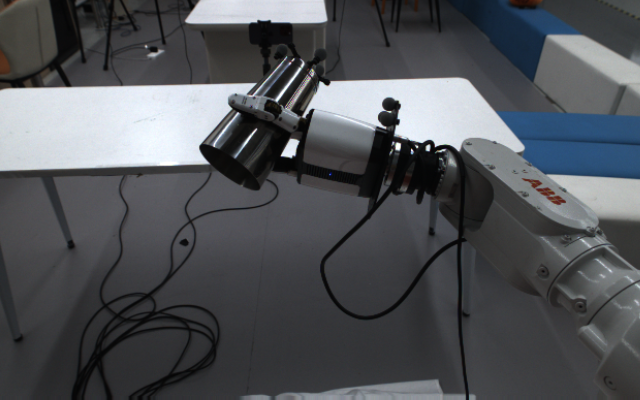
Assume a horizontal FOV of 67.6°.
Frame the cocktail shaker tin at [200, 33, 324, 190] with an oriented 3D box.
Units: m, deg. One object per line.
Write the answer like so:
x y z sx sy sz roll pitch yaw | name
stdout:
-0.072 -0.112 0.639 0.093 0.093 0.170 22 67 26 | cocktail shaker tin
